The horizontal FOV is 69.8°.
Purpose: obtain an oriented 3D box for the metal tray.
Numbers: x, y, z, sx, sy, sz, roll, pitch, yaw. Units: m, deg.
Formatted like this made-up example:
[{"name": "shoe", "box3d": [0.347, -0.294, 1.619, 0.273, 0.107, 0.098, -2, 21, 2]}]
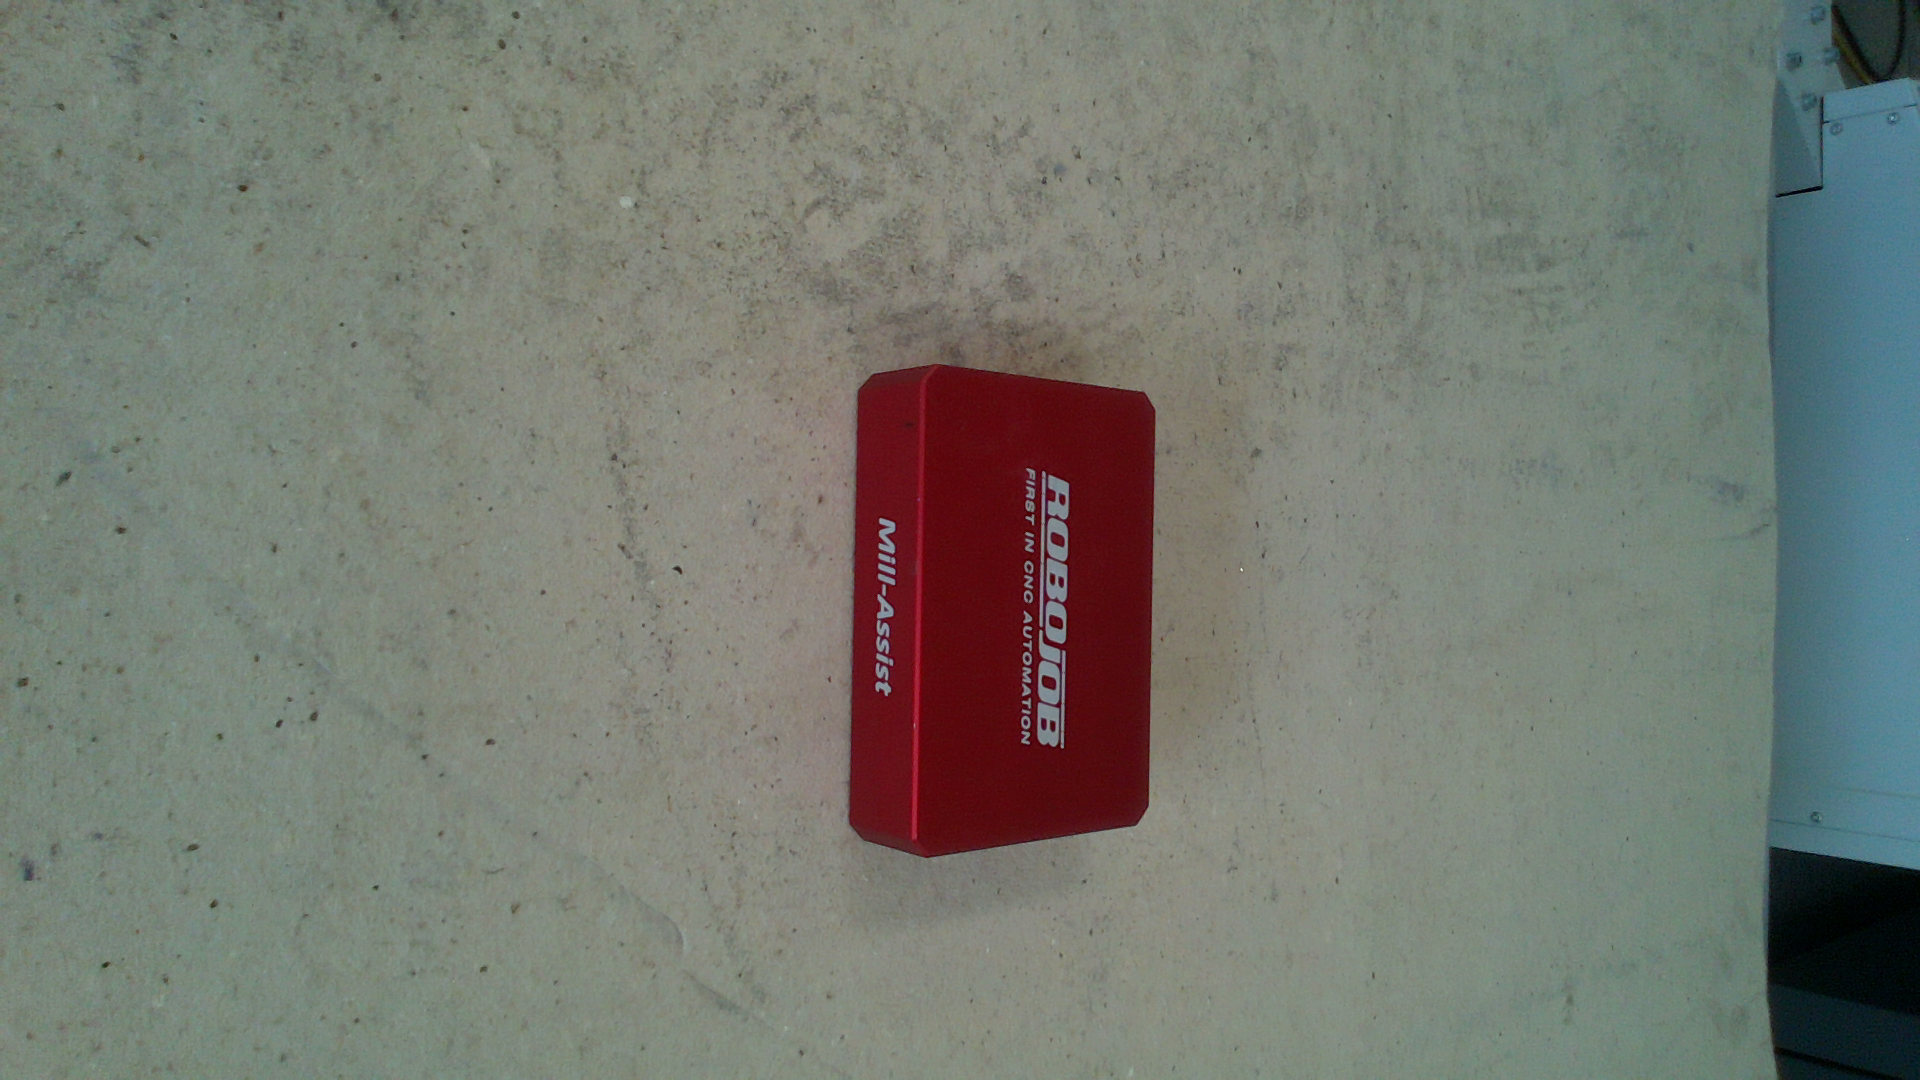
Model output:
[{"name": "metal tray", "box3d": [0.014, 0.019, 0.397, 0.090, 0.030, 0.130, 2, 90, -40]}]
